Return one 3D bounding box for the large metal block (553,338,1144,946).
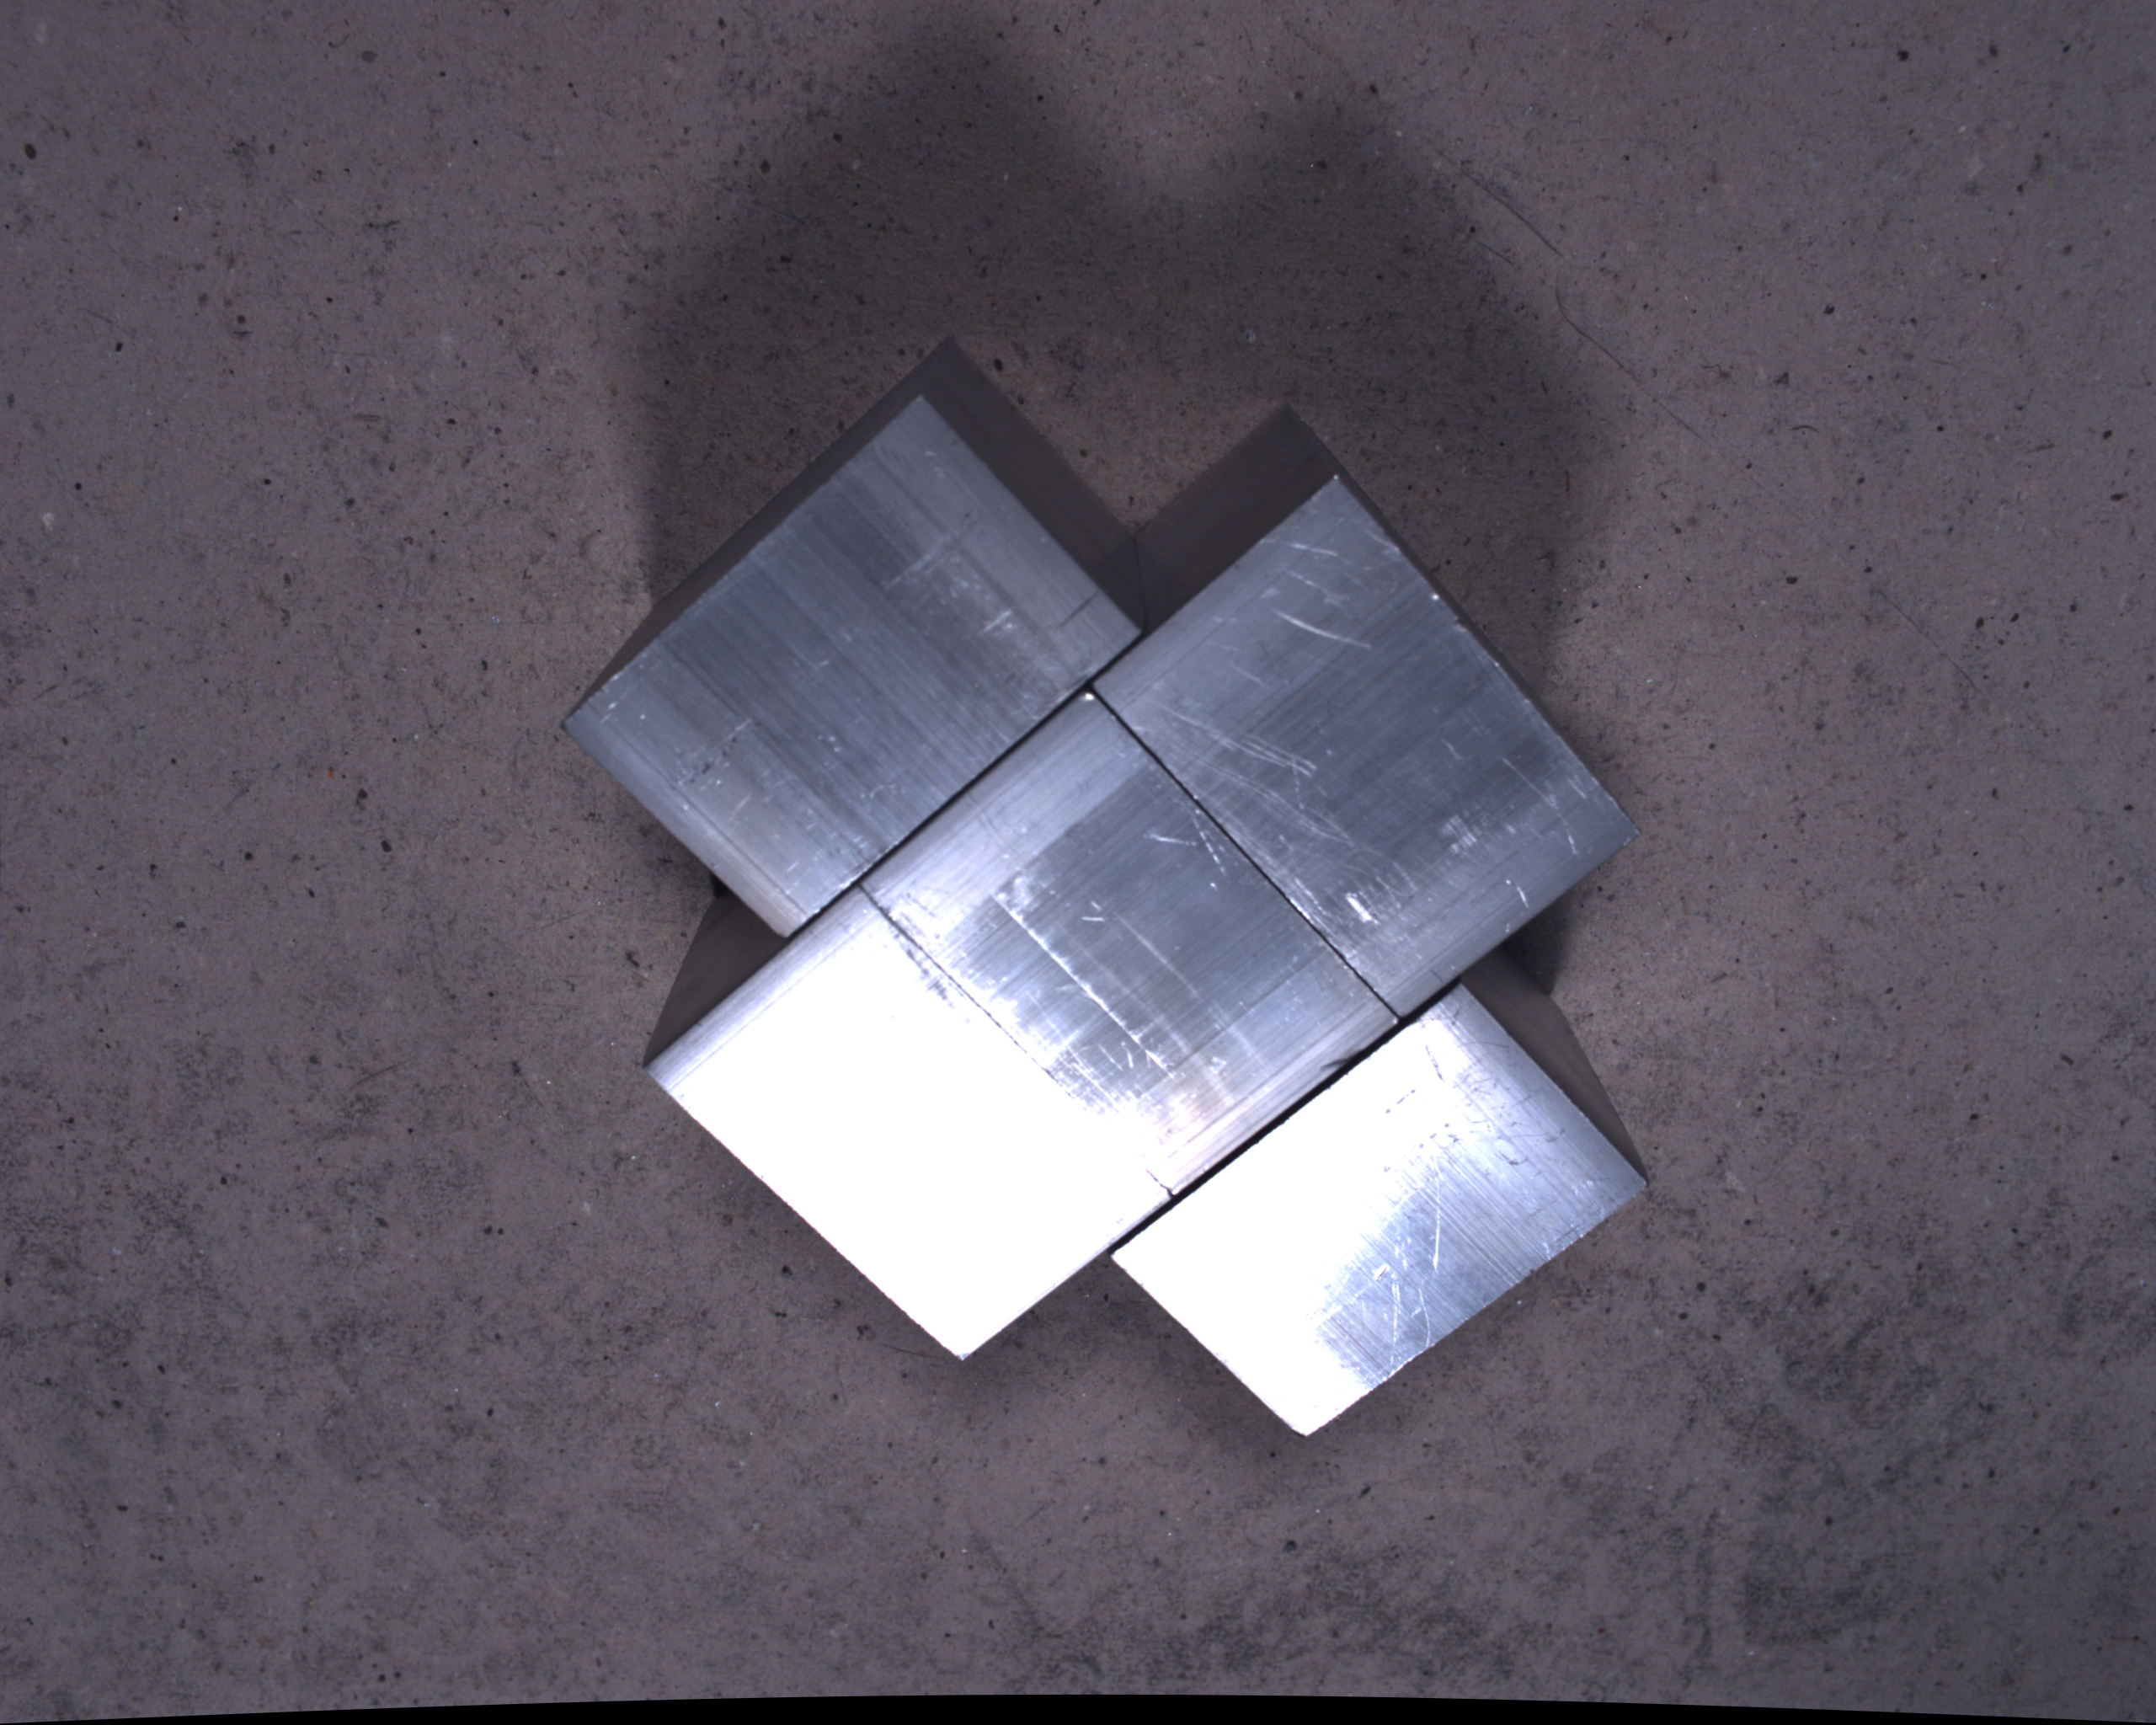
[{"bbox_3d":[-0.037,-0.042,0.366,0.080,0.080,0.050,-40,106,13],"label":"large metal block"}]

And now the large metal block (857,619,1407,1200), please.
[{"bbox_3d":[0.009,0.001,0.383,0.050,0.080,0.080,-40,106,13],"label":"large metal block"}]

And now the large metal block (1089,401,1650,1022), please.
[{"bbox_3d":[0.047,-0.030,0.372,0.050,0.080,0.080,-40,106,13],"label":"large metal block"}]

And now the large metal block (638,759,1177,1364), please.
[{"bbox_3d":[-0.029,0.033,0.394,0.050,0.080,0.080,-40,106,13],"label":"large metal block"}]

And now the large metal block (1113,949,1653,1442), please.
[{"bbox_3d":[0.053,0.049,0.401,0.080,0.080,0.050,-40,106,13],"label":"large metal block"}]
